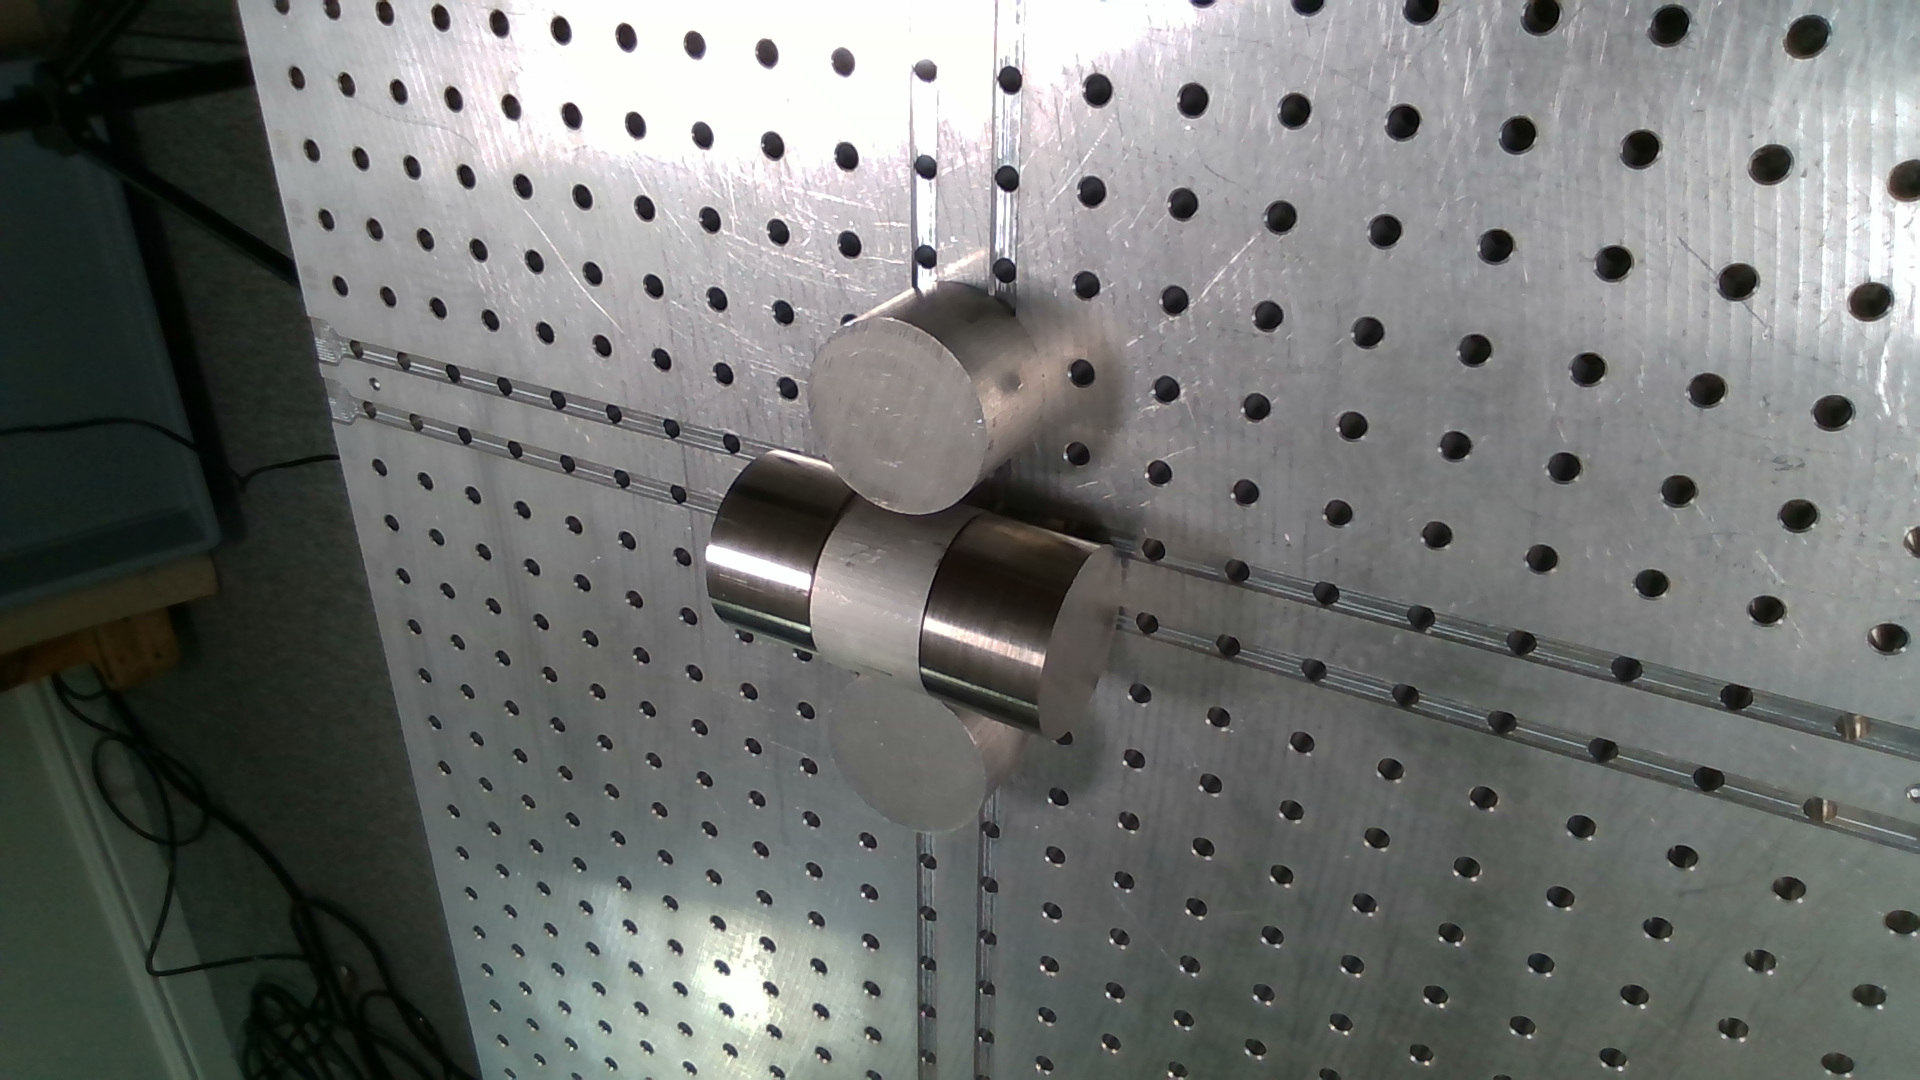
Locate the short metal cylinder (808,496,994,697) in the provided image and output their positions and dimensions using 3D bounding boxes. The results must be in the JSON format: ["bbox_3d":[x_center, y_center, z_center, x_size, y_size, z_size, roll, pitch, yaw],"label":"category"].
[{"bbox_3d":[-0.019,0.020,0.570,0.050,0.080,0.080,16,122,24],"label":"short metal cylinder"}]

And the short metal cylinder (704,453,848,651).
[{"bbox_3d":[-0.065,0.006,0.590,0.050,0.080,0.080,15,122,24],"label":"short metal cylinder"}]

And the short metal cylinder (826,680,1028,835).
[{"bbox_3d":[-0.013,0.085,0.620,0.080,0.050,0.080,14,122,25],"label":"short metal cylinder"}]

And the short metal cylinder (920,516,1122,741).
[{"bbox_3d":[0.026,0.034,0.549,0.050,0.080,0.080,17,123,23],"label":"short metal cylinder"}]

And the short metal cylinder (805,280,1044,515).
[{"bbox_3d":[-0.014,-0.057,0.543,0.080,0.050,0.080,14,122,25],"label":"short metal cylinder"}]
